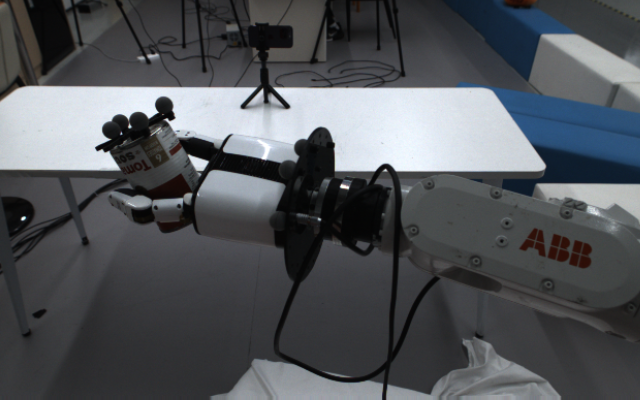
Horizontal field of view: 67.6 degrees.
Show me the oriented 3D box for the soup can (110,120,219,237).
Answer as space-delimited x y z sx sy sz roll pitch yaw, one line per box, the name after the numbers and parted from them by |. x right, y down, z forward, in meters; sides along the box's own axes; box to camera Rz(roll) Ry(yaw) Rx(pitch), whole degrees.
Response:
-0.165 -0.024 0.520 0.067 0.101 0.067 -22 24 10 | soup can
